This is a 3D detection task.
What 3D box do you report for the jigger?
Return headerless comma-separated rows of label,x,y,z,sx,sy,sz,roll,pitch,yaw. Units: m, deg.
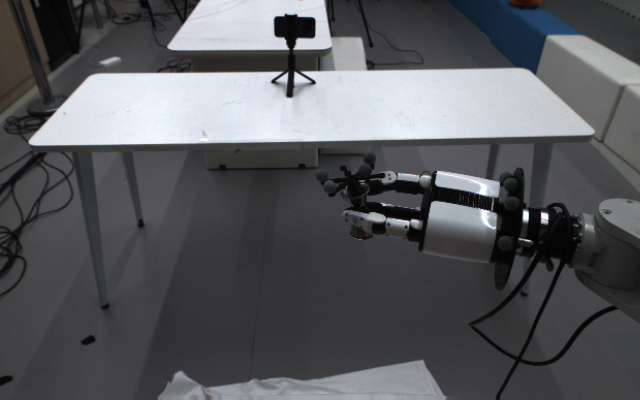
jigger,0.056,0.015,0.666,0.043,0.071,0.043,-12,29,7
